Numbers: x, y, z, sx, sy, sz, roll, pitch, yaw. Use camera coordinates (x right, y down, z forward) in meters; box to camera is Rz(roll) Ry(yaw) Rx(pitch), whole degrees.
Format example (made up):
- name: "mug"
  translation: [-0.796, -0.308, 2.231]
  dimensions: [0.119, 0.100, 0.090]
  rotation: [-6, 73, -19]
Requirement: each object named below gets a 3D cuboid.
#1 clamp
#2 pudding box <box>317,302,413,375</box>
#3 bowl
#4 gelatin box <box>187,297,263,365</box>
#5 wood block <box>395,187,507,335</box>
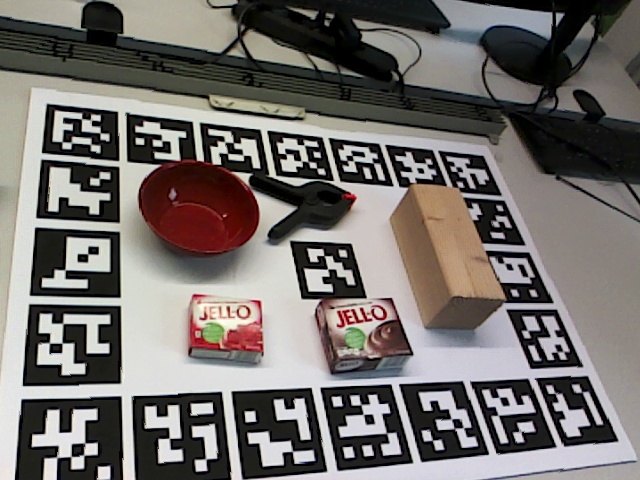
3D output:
- name: "clamp"
  translation: [-0.032, -0.049, 0.948]
  dimensions: [0.164, 0.036, 0.122]
  rotation: [-5, 56, -30]
- name: "pudding box"
  translation: [0.058, 0.131, 0.831]
  dimensions: [0.113, 0.039, 0.090]
  rotation: [1, 57, -20]
- name: "bowl"
  translation: [-0.170, -0.030, 0.857]
  dimensions: [0.161, 0.055, 0.162]
  rotation: [12, 52, -17]
- name: "gelatin box"
  translation: [-0.117, 0.113, 0.772]
  dimensions: [0.089, 0.030, 0.073]
  rotation: [10, 52, -17]
- name: "wood block"
  translation: [0.192, 0.030, 0.936]
  dimensions: [0.089, 0.091, 0.207]
  rotation: [6, 52, -21]
